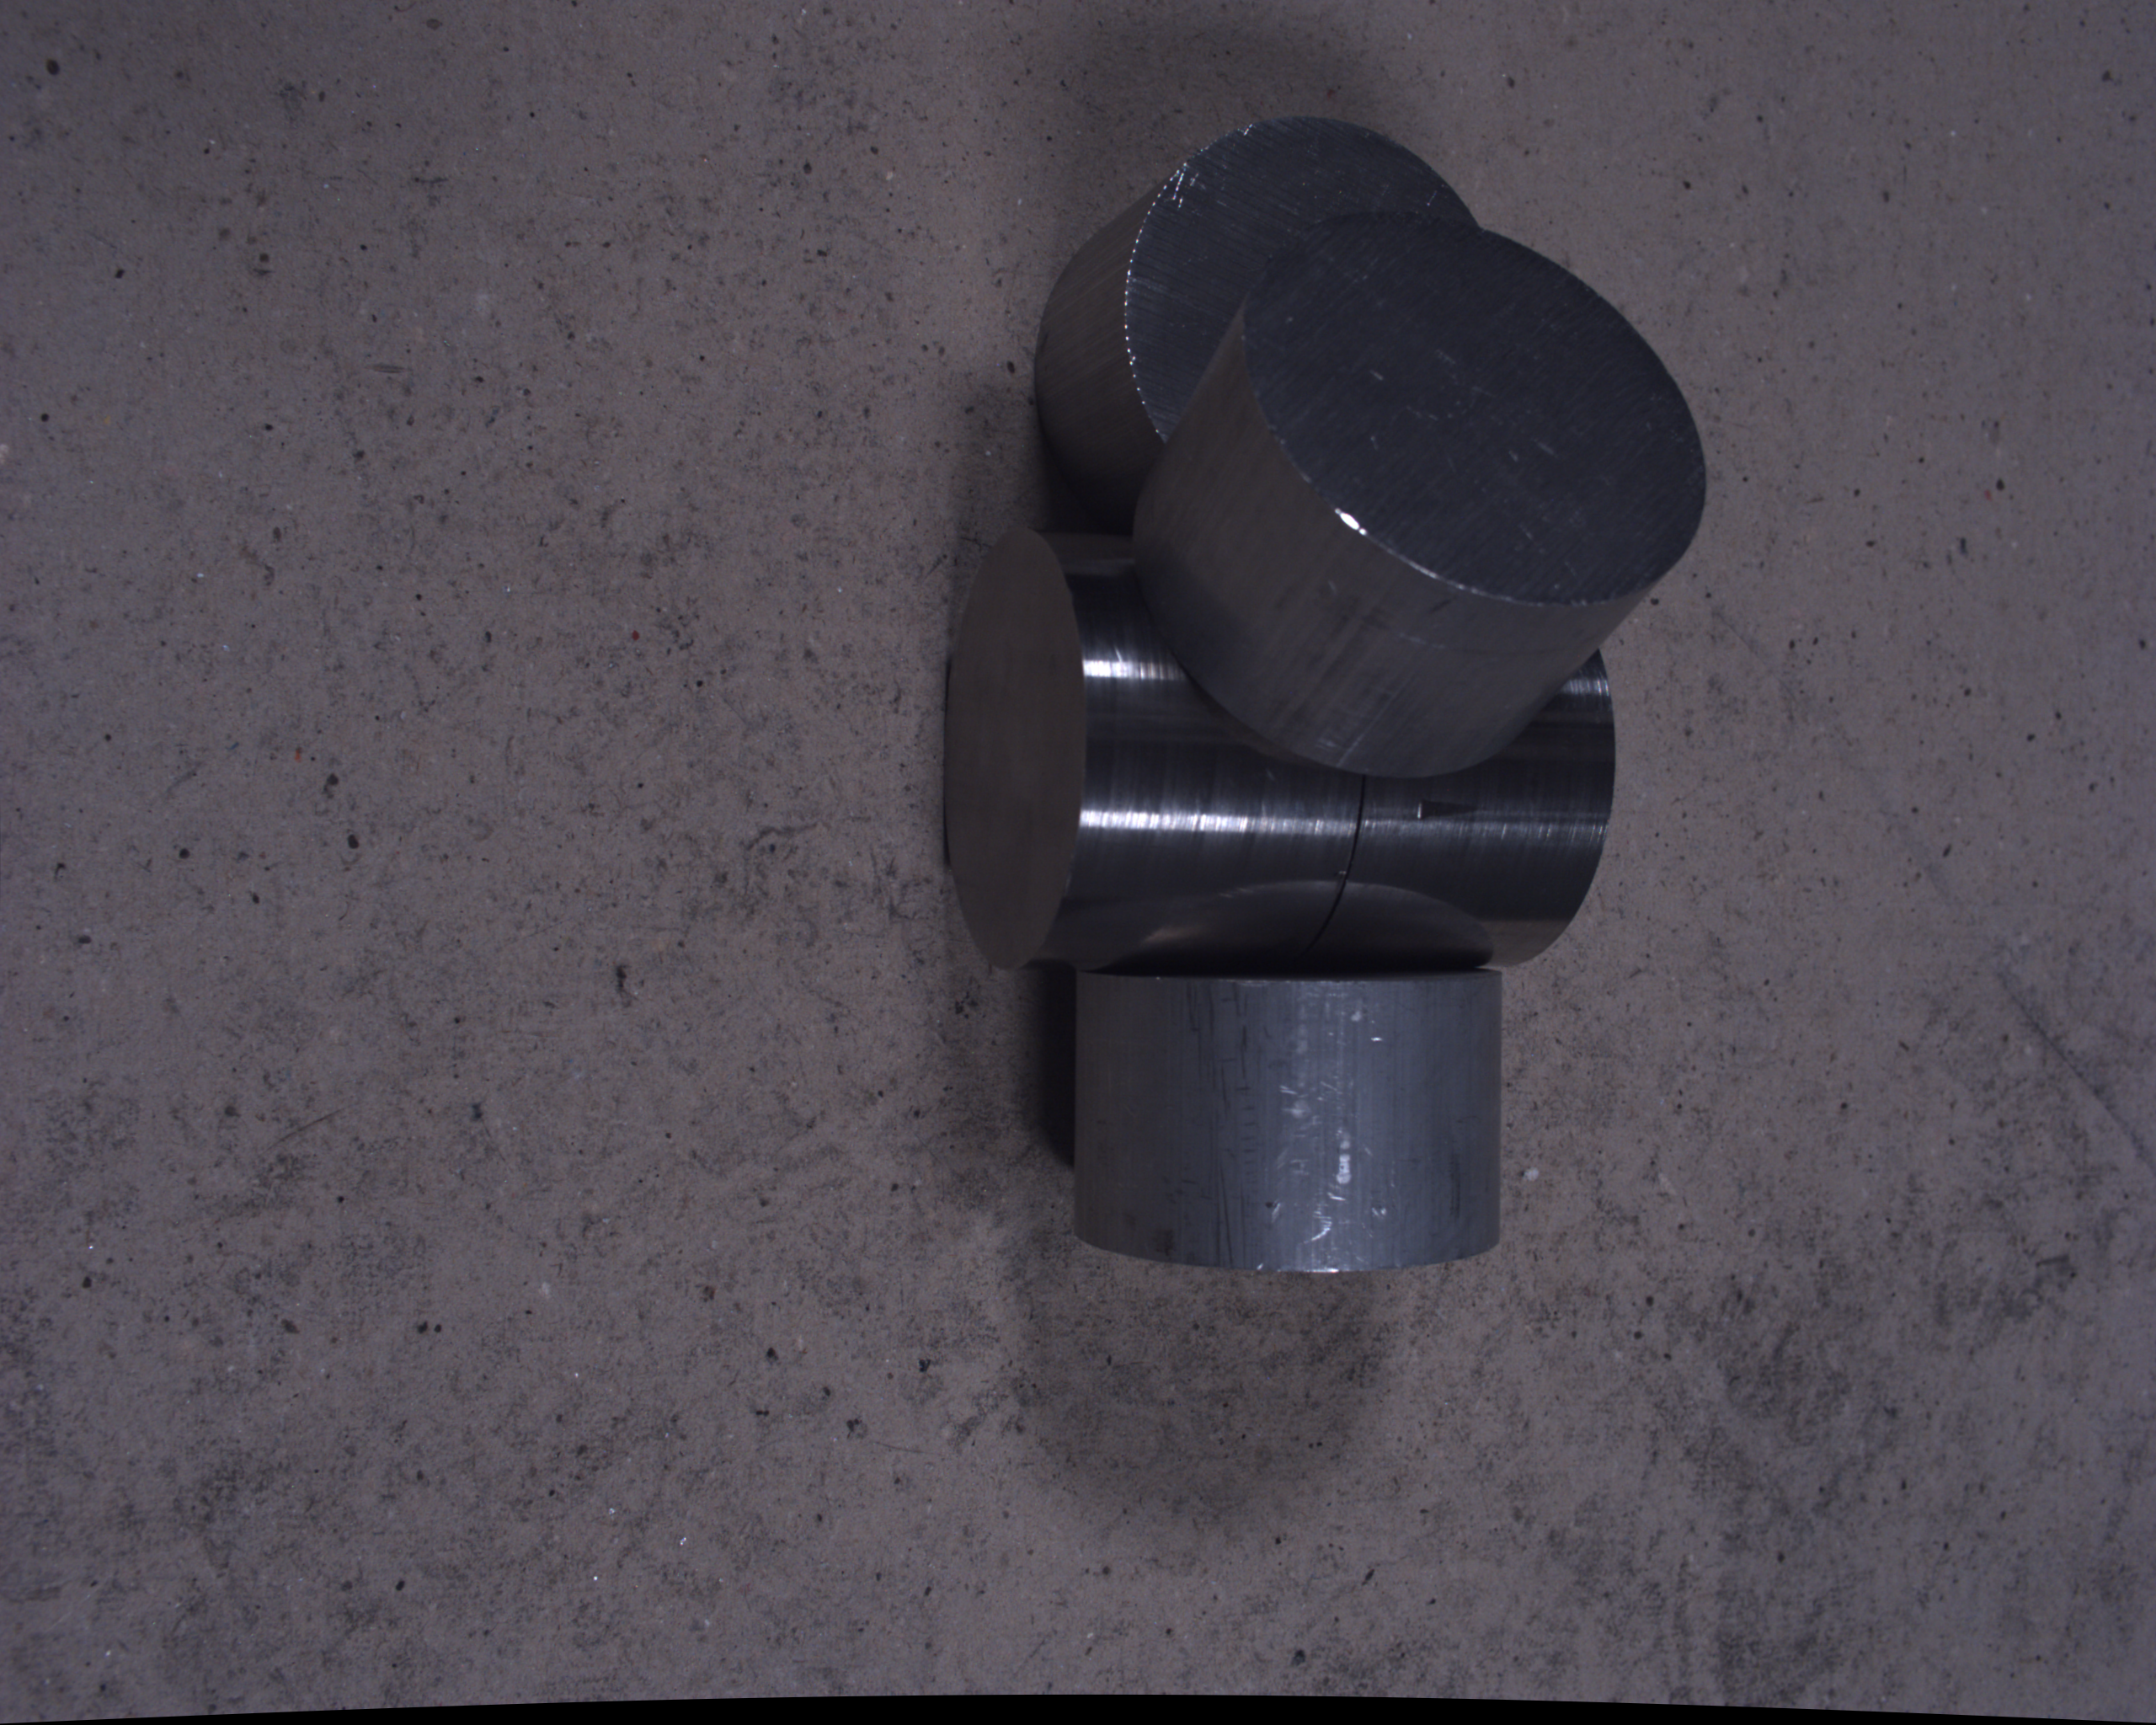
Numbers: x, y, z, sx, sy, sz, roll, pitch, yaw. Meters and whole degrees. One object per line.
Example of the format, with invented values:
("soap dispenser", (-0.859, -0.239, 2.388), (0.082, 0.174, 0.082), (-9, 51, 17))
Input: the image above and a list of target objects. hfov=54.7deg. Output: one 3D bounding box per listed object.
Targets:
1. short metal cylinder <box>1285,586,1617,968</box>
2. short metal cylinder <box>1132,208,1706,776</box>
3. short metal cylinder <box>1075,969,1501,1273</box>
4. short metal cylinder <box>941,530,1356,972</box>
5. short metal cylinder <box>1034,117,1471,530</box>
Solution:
("short metal cylinder", (0.060, -0.019, 0.404), (0.050, 0.080, 0.079), (0, 90, -20))
("short metal cylinder", (0.055, -0.061, 0.348), (0.081, 0.050, 0.080), (10, 59, -16))
("short metal cylinder", (0.040, 0.045, 0.397), (0.081, 0.080, 0.050), (0, 90, -20))
("short metal cylinder", (0.010, -0.020, 0.386), (0.050, 0.080, 0.079), (1, 90, -21))
("short metal cylinder", (0.038, -0.099, 0.413), (0.081, 0.050, 0.079), (0, 90, -21))
